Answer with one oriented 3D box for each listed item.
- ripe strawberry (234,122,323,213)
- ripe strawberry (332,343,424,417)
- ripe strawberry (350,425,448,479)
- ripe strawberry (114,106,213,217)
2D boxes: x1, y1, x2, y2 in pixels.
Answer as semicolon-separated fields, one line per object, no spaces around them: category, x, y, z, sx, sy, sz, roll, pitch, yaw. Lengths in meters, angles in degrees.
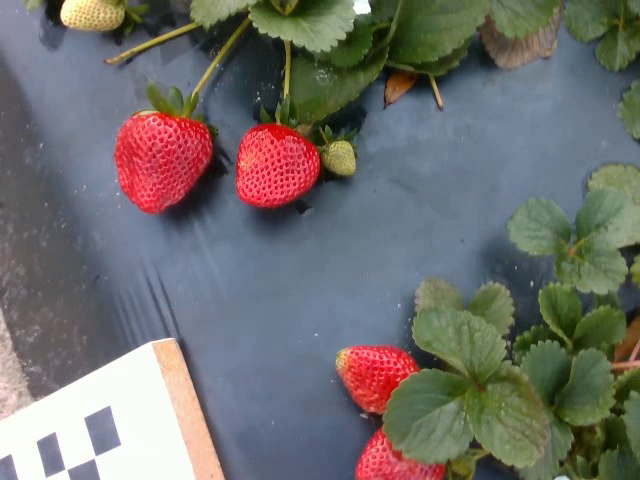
ripe strawberry;-0.030;-0.039;0.346;0.050;0.051;0.060;-3;41;36
ripe strawberry;0.025;0.068;0.317;0.053;0.047;0.039;32;26;-8
ripe strawberry;0.034;0.108;0.300;0.049;0.044;0.041;-18;-18;-34
ripe strawberry;-0.095;-0.043;0.355;0.058;0.065;0.043;4;-14;35
